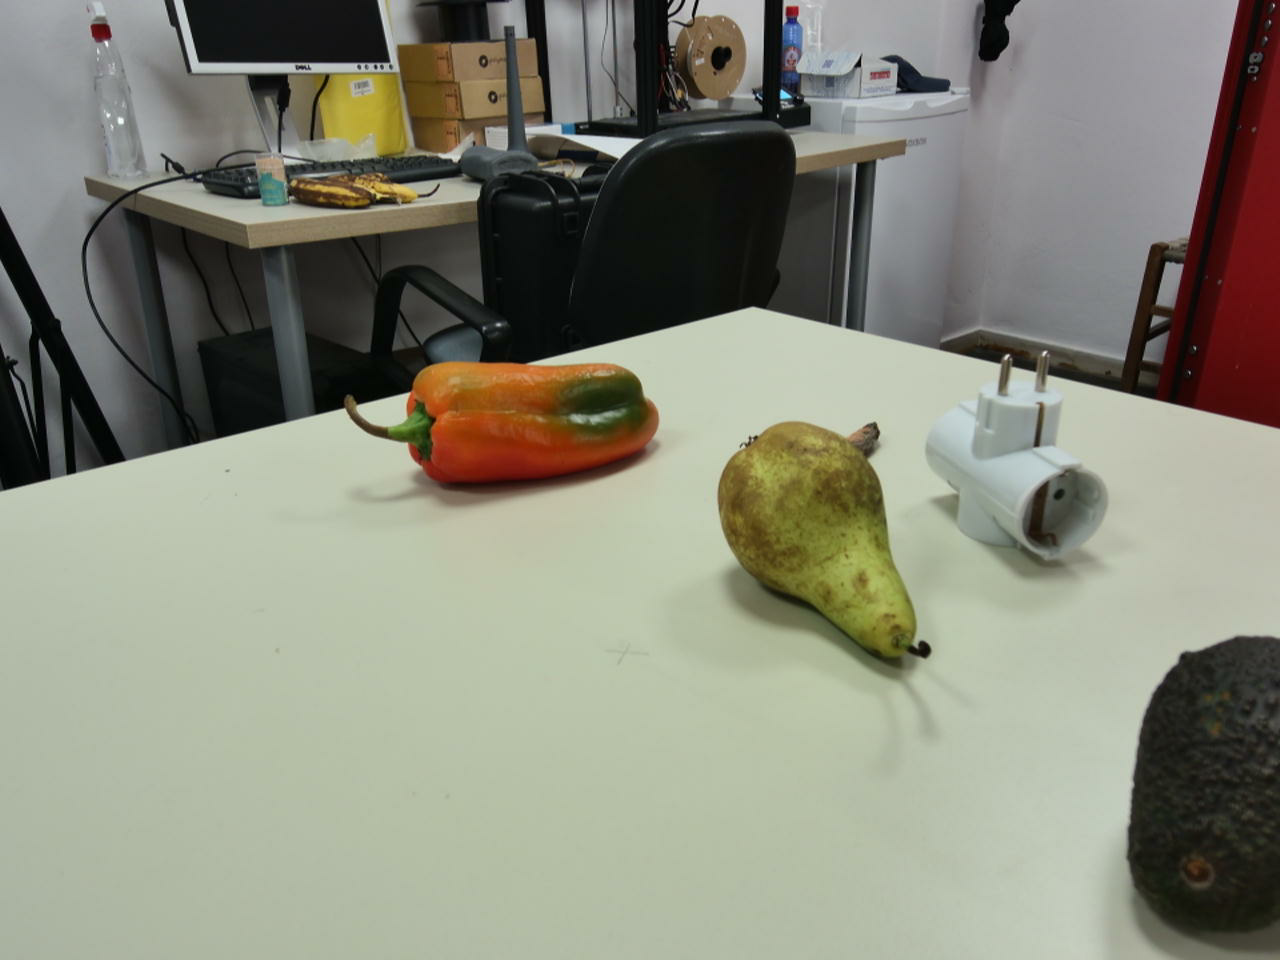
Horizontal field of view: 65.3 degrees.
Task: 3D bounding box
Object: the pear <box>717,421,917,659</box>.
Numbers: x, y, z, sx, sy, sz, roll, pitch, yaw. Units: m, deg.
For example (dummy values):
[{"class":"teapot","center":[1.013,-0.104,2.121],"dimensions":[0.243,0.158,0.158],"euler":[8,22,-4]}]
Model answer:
[{"class":"pear","center":[0.089,0.023,0.420],"dimensions":[0.071,0.075,0.144],"euler":[-13,25,-29]}]
